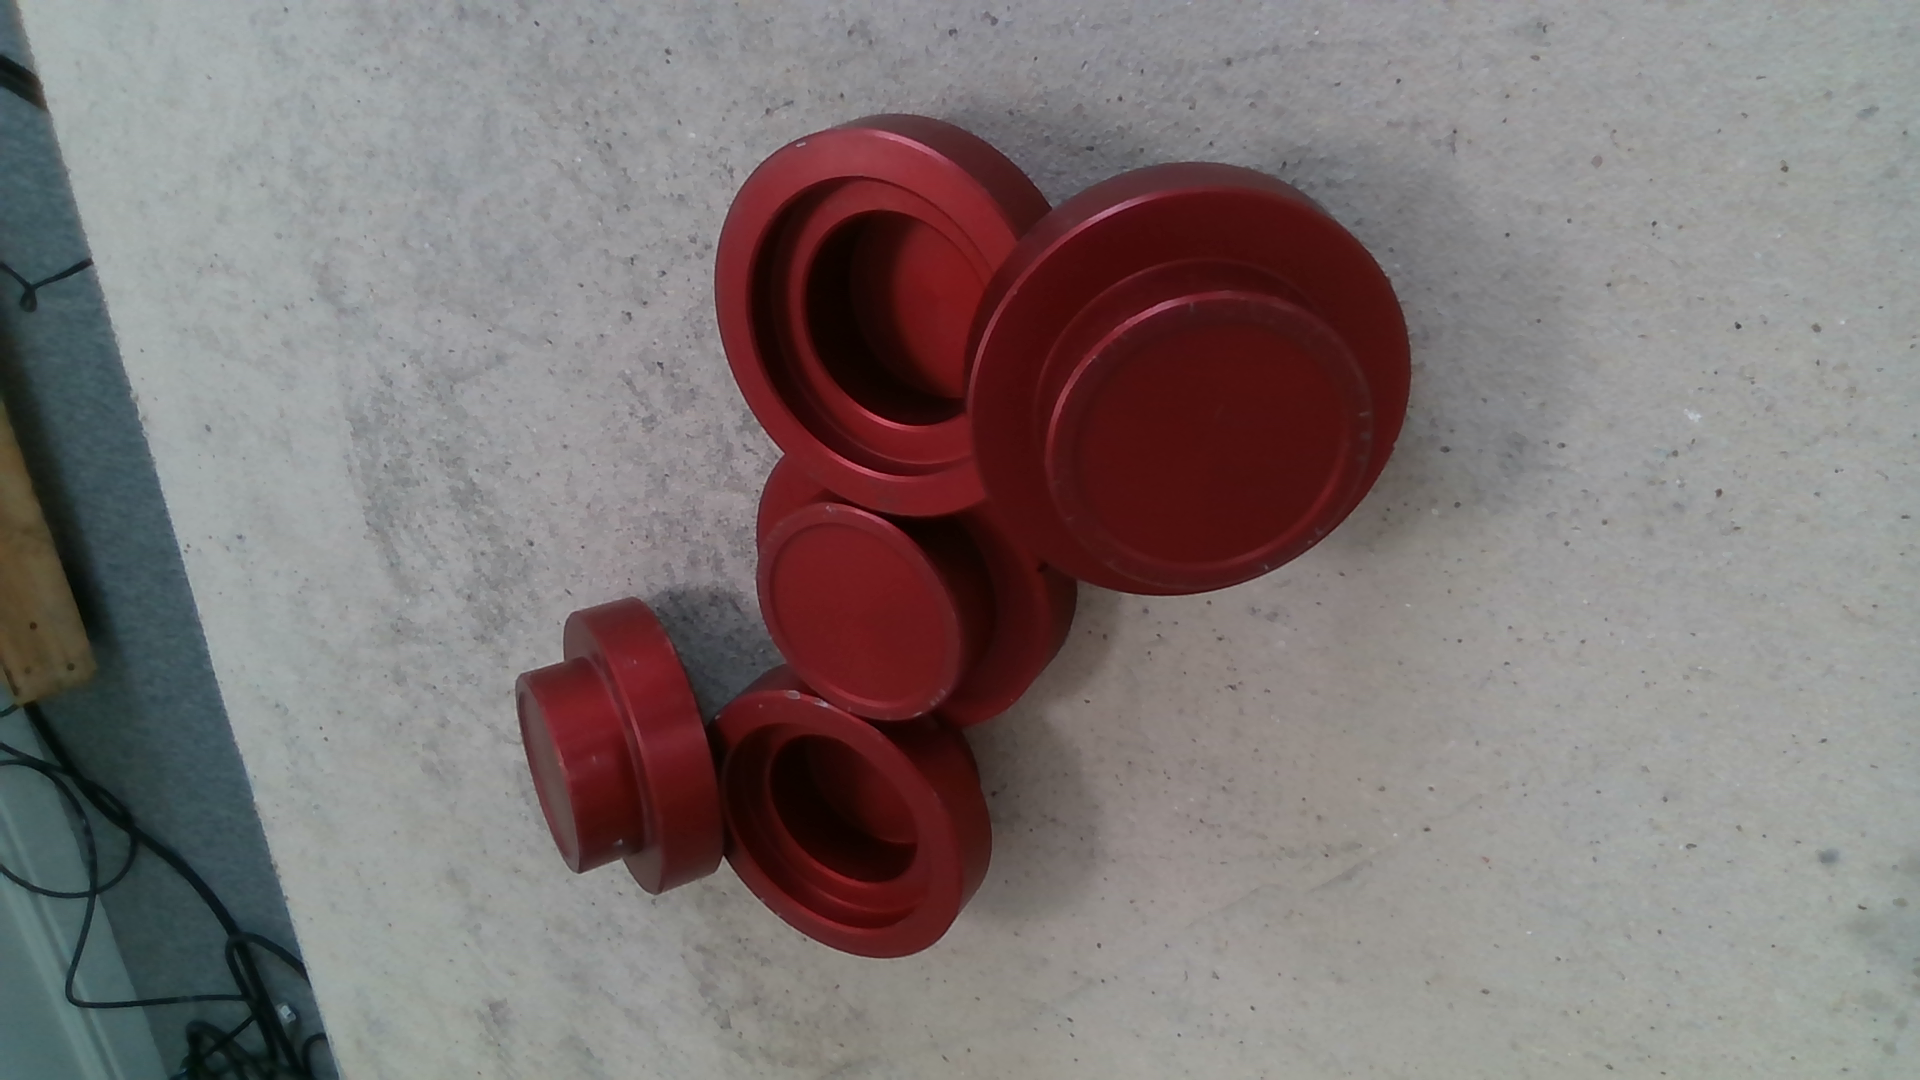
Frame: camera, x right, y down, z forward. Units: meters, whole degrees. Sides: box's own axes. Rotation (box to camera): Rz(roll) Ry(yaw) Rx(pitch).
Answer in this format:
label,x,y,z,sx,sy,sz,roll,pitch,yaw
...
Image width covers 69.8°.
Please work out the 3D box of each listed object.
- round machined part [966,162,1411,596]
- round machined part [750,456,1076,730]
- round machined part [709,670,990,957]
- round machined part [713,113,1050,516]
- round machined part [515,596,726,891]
label,x,y,z,sx,sy,sz,roll,pitch,yaw
round machined part,0.050,-0.029,0.302,0.098,0.042,0.098,-1,120,-2
round machined part,-0.020,0.013,0.396,0.098,0.042,0.098,13,120,23
round machined part,-0.033,0.081,0.442,0.098,0.042,0.098,14,121,25
round machined part,-0.011,-0.059,0.352,0.098,0.042,0.098,14,121,25
round machined part,-0.118,0.071,0.460,0.098,0.042,0.098,37,135,48
